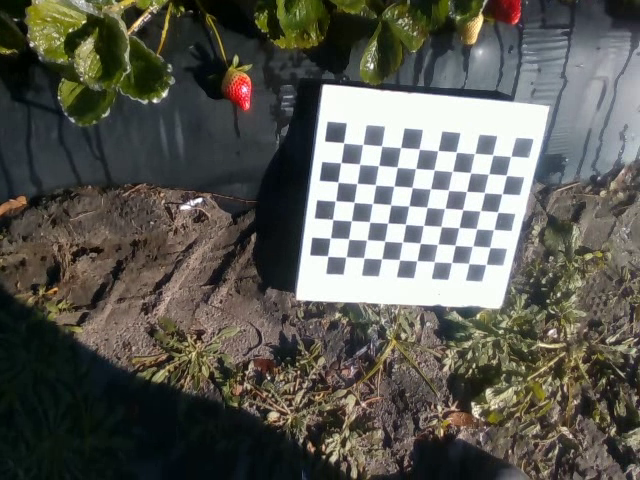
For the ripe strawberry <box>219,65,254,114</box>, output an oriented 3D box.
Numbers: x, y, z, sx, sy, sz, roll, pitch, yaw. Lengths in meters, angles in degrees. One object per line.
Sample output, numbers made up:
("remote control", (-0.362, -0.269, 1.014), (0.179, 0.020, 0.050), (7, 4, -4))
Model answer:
("ripe strawberry", (-0.090, -0.166, 0.743), (0.039, 0.053, 0.040), (-17, 5, -5))
